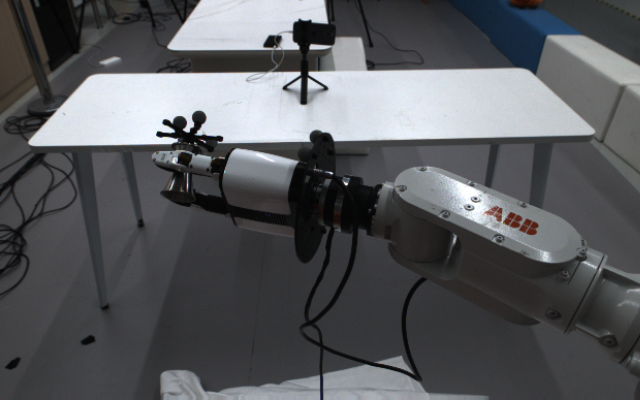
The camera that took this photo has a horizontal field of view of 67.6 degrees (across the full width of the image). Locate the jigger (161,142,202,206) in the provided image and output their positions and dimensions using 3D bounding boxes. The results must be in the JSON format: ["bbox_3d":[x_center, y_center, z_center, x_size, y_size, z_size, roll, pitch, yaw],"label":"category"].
[{"bbox_3d":[-0.178,-0.036,0.625,0.043,0.043,0.071,5,71,3],"label":"jigger"}]
